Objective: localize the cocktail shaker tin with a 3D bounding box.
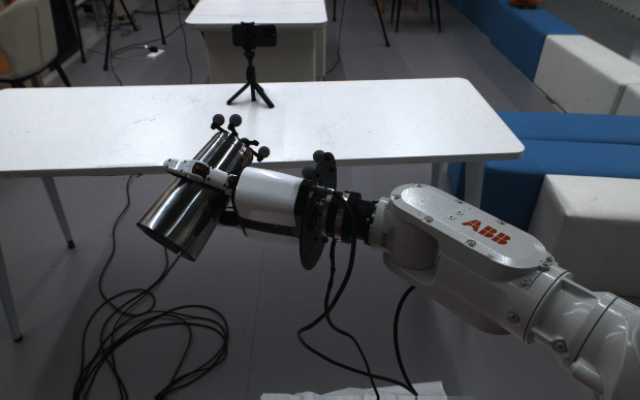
[{"bbox_3d":[-0.164,-0.014,0.674,0.093,0.093,0.170,20,67,24],"label":"cocktail shaker tin"}]
